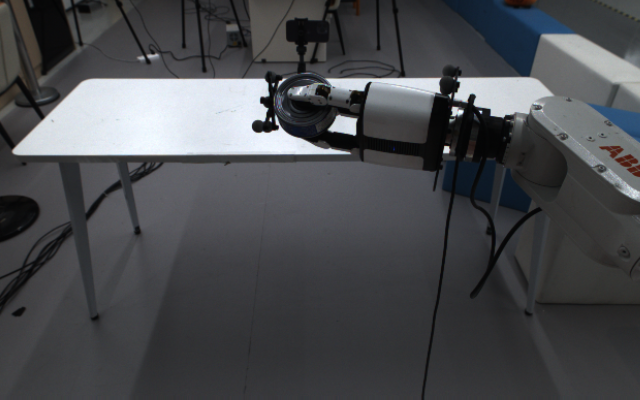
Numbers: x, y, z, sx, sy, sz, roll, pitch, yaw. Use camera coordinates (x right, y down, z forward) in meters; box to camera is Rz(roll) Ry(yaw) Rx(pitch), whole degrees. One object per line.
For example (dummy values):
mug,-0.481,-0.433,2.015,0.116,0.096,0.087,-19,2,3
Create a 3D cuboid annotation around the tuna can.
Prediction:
tuna can,-0.019,-0.132,0.666,0.085,0.034,0.085,-2,69,6
